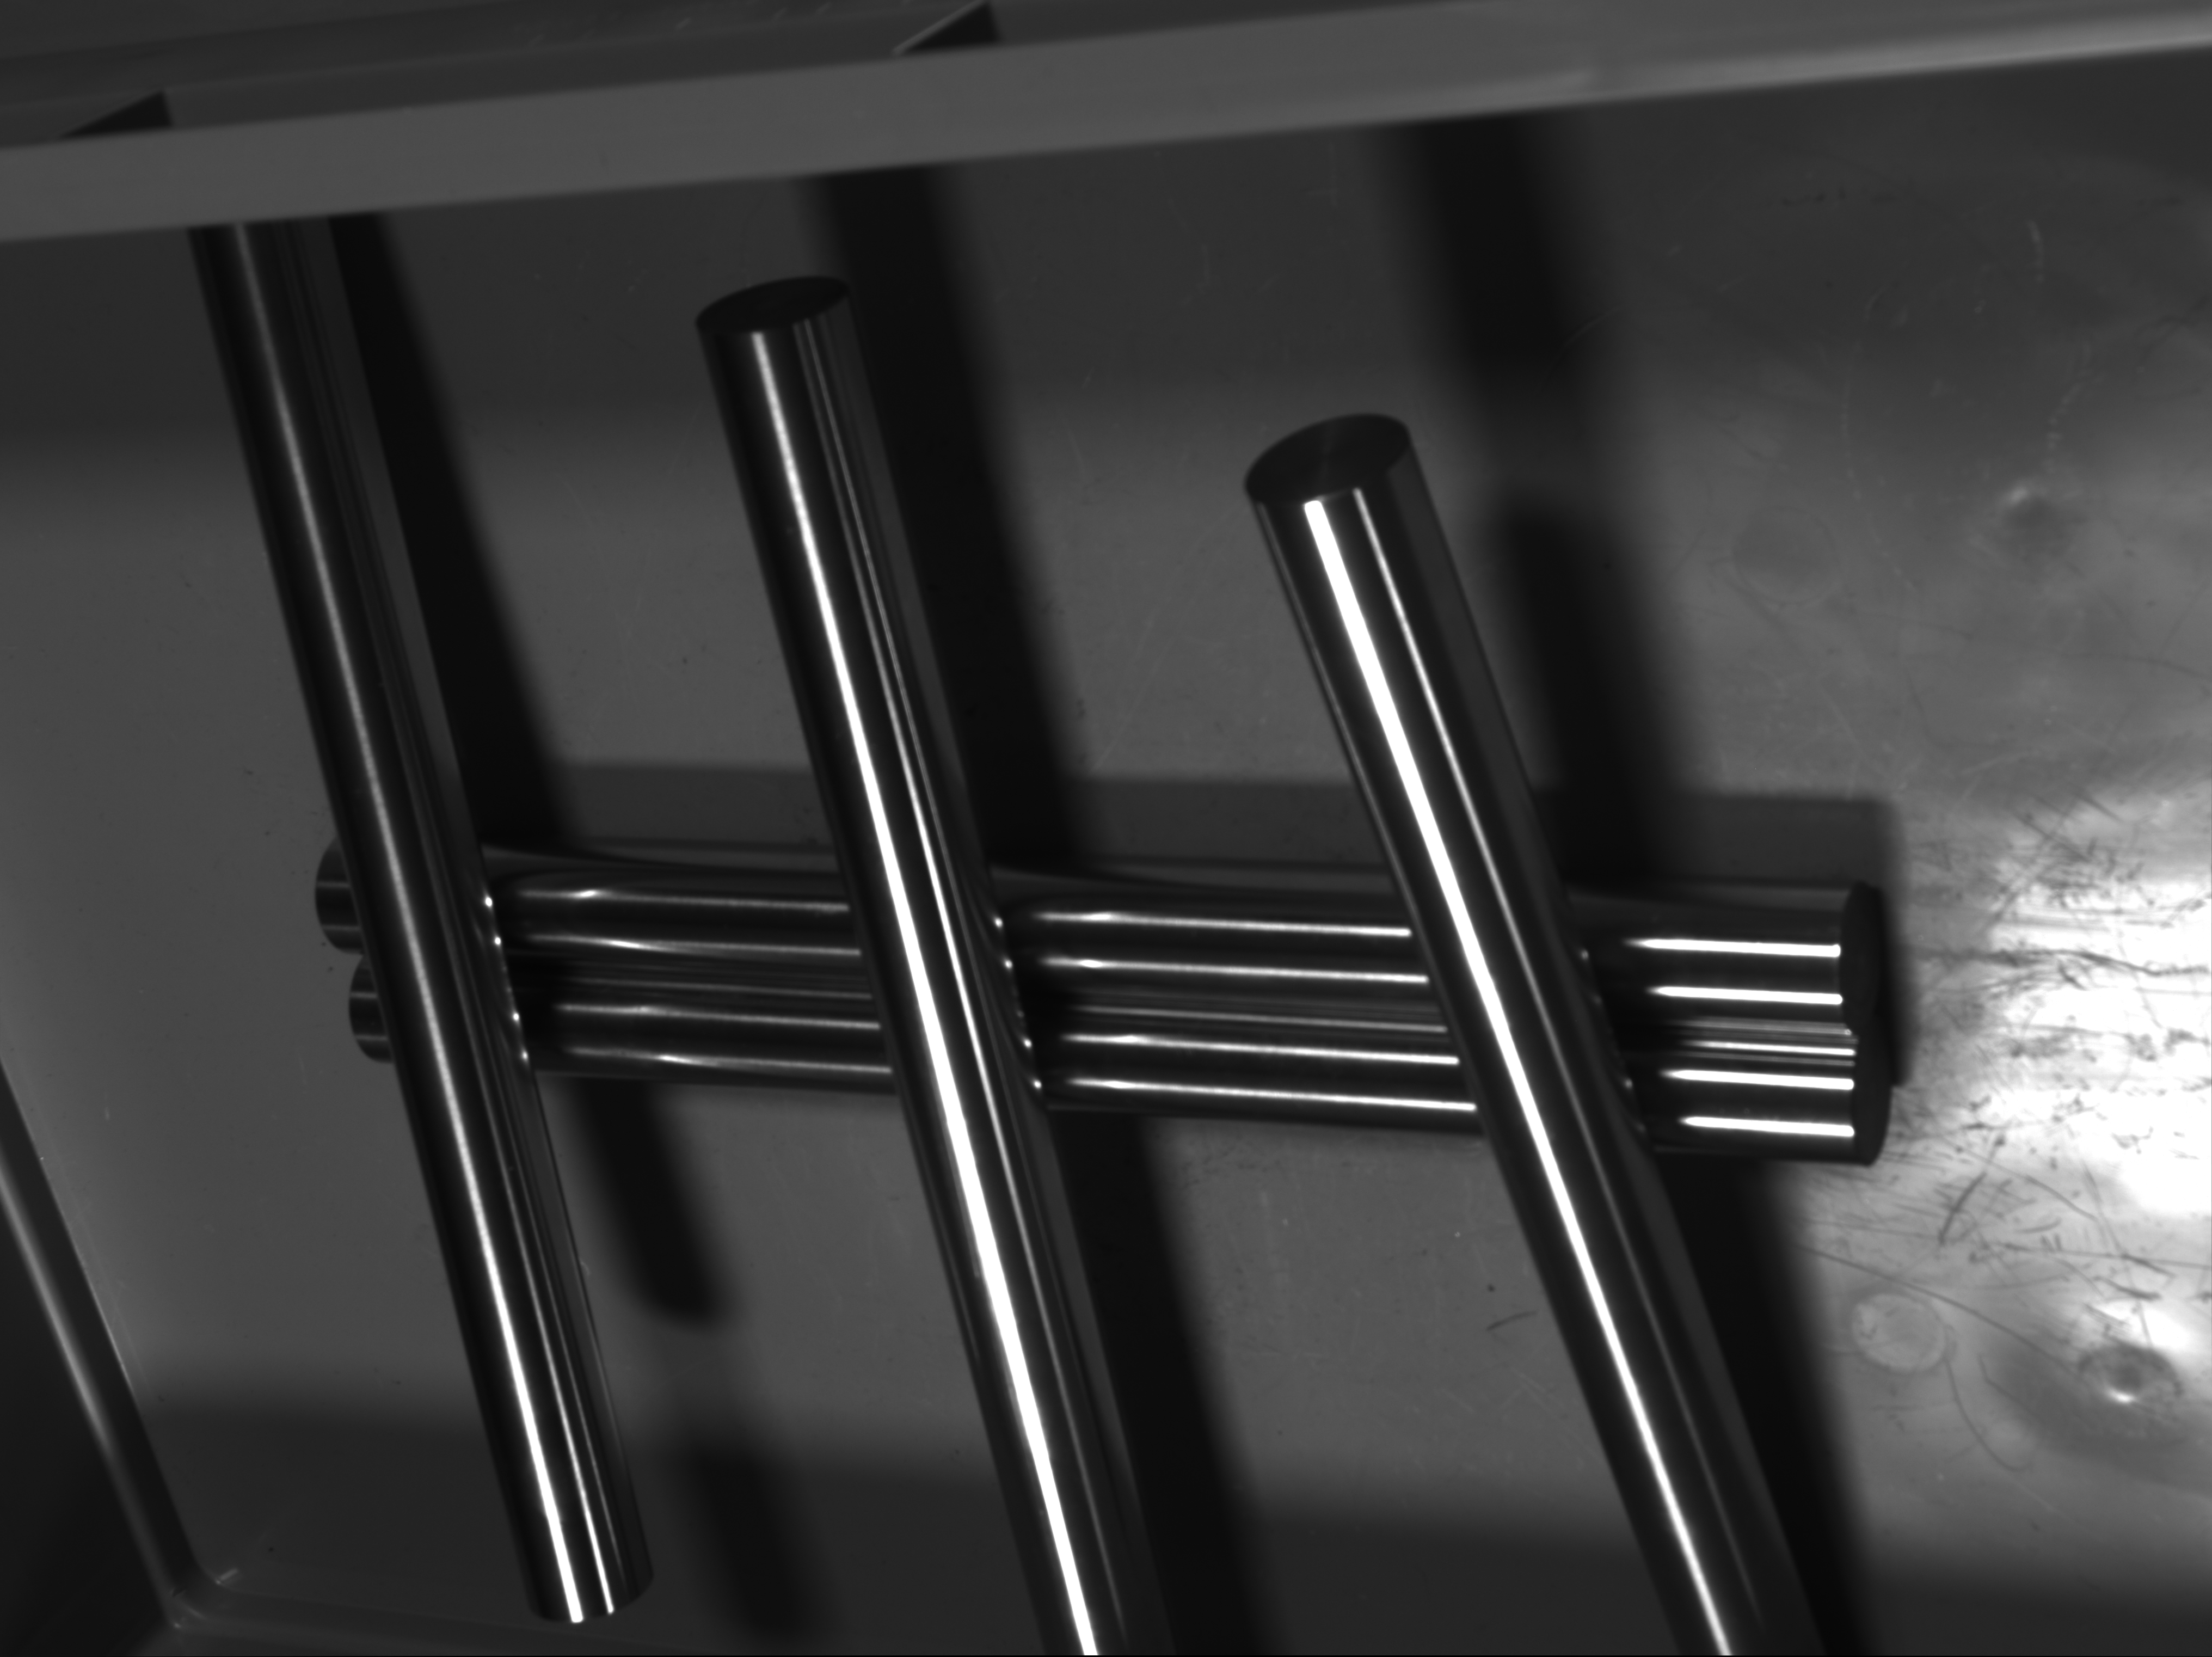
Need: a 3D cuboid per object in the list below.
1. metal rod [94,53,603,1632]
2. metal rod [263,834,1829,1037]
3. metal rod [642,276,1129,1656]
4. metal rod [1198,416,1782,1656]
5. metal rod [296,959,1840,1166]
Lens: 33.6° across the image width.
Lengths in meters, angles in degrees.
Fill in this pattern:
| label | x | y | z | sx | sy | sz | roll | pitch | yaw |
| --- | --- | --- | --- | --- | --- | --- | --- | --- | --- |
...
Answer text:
| label | x | y | z | sx | sy | sz | roll | pitch | yaw |
| --- | --- | --- | --- | --- | --- | --- | --- | --- | --- |
| metal rod | -0.136 | 0.010 | 0.674 | 0.025 | 0.025 | 0.300 | -1 | 110 | 27 |
| metal rod | -0.022 | 0.017 | 0.652 | 0.299 | 0.025 | 0.025 | 2 | 119 | 26 |
| metal rod | -0.032 | 0.049 | 0.644 | 0.025 | 0.025 | 0.300 | 1 | 119 | 26 |
| metal rod | 0.075 | 0.067 | 0.605 | 0.025 | 0.025 | 0.300 | -4 | 125 | 29 |
| metal rod | -0.018 | 0.039 | 0.663 | 0.299 | 0.025 | 0.025 | 2 | 119 | 26 |
